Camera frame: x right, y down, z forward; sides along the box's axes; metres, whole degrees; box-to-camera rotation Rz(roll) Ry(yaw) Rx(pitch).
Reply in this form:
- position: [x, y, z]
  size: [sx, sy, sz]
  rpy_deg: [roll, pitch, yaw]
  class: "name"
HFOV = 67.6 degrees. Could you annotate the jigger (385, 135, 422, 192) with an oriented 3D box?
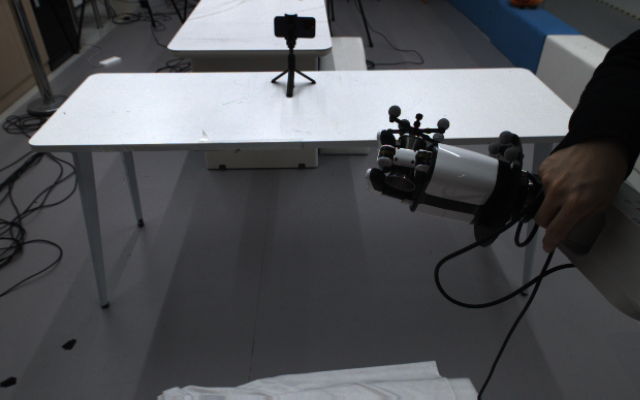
- position: [0.122, -0.053, 0.676]
  size: [0.043, 0.043, 0.071]
  rpy_deg: [13, 72, 15]
  class: "jigger"
